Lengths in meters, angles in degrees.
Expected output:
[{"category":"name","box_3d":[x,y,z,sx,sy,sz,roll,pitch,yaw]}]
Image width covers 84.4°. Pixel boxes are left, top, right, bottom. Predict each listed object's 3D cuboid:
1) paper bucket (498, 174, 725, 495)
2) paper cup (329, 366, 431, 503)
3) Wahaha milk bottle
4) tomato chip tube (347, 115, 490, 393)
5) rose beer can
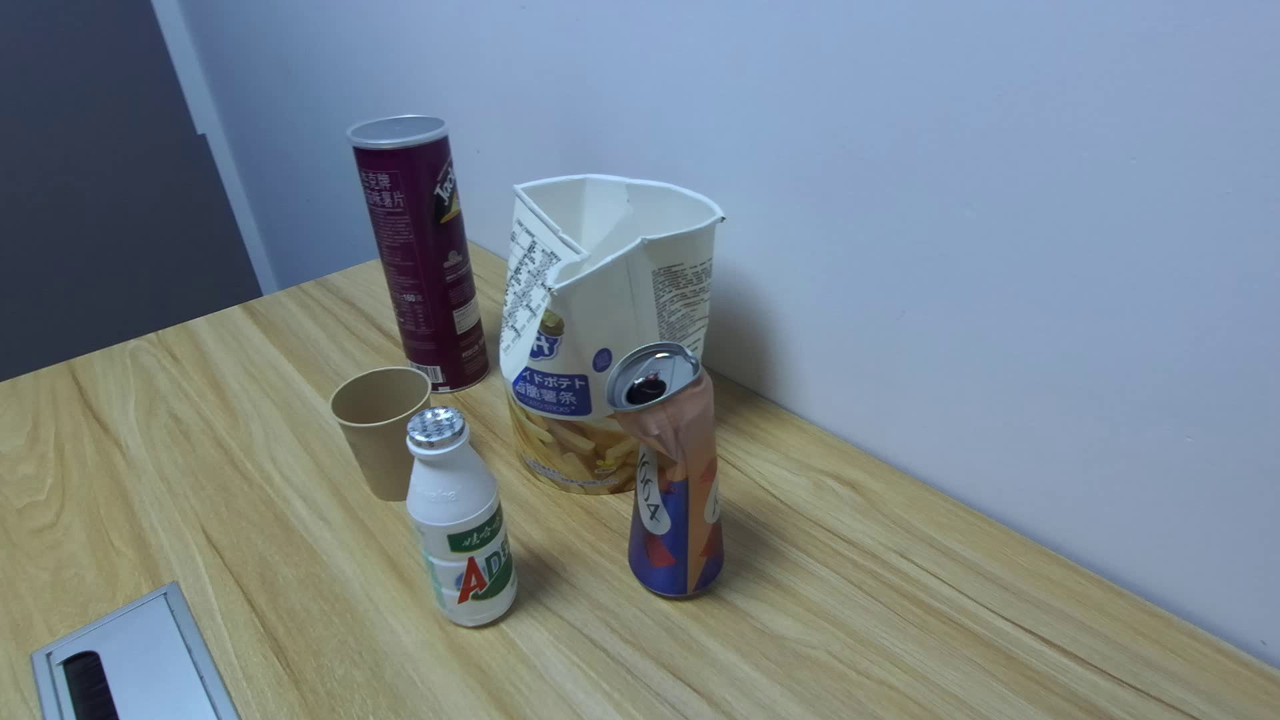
[{"category":"paper bucket","box_3d":[-0.039,-0.022,0.552,0.170,0.202,0.162,-25,38,-35]},{"category":"paper cup","box_3d":[-0.190,0.056,0.550,0.075,0.082,0.075,-2,38,2]},{"category":"Wahaha milk bottle","box_3d":[-0.108,0.096,0.425,0.053,0.147,0.053,-2,33,1]},{"category":"tomato chip tube","box_3d":[-0.190,-0.087,0.630,0.078,0.234,0.078,-2,33,1]},{"category":"rose beer can","box_3d":[0.019,0.072,0.437,0.069,0.168,0.070,14,40,27]}]
